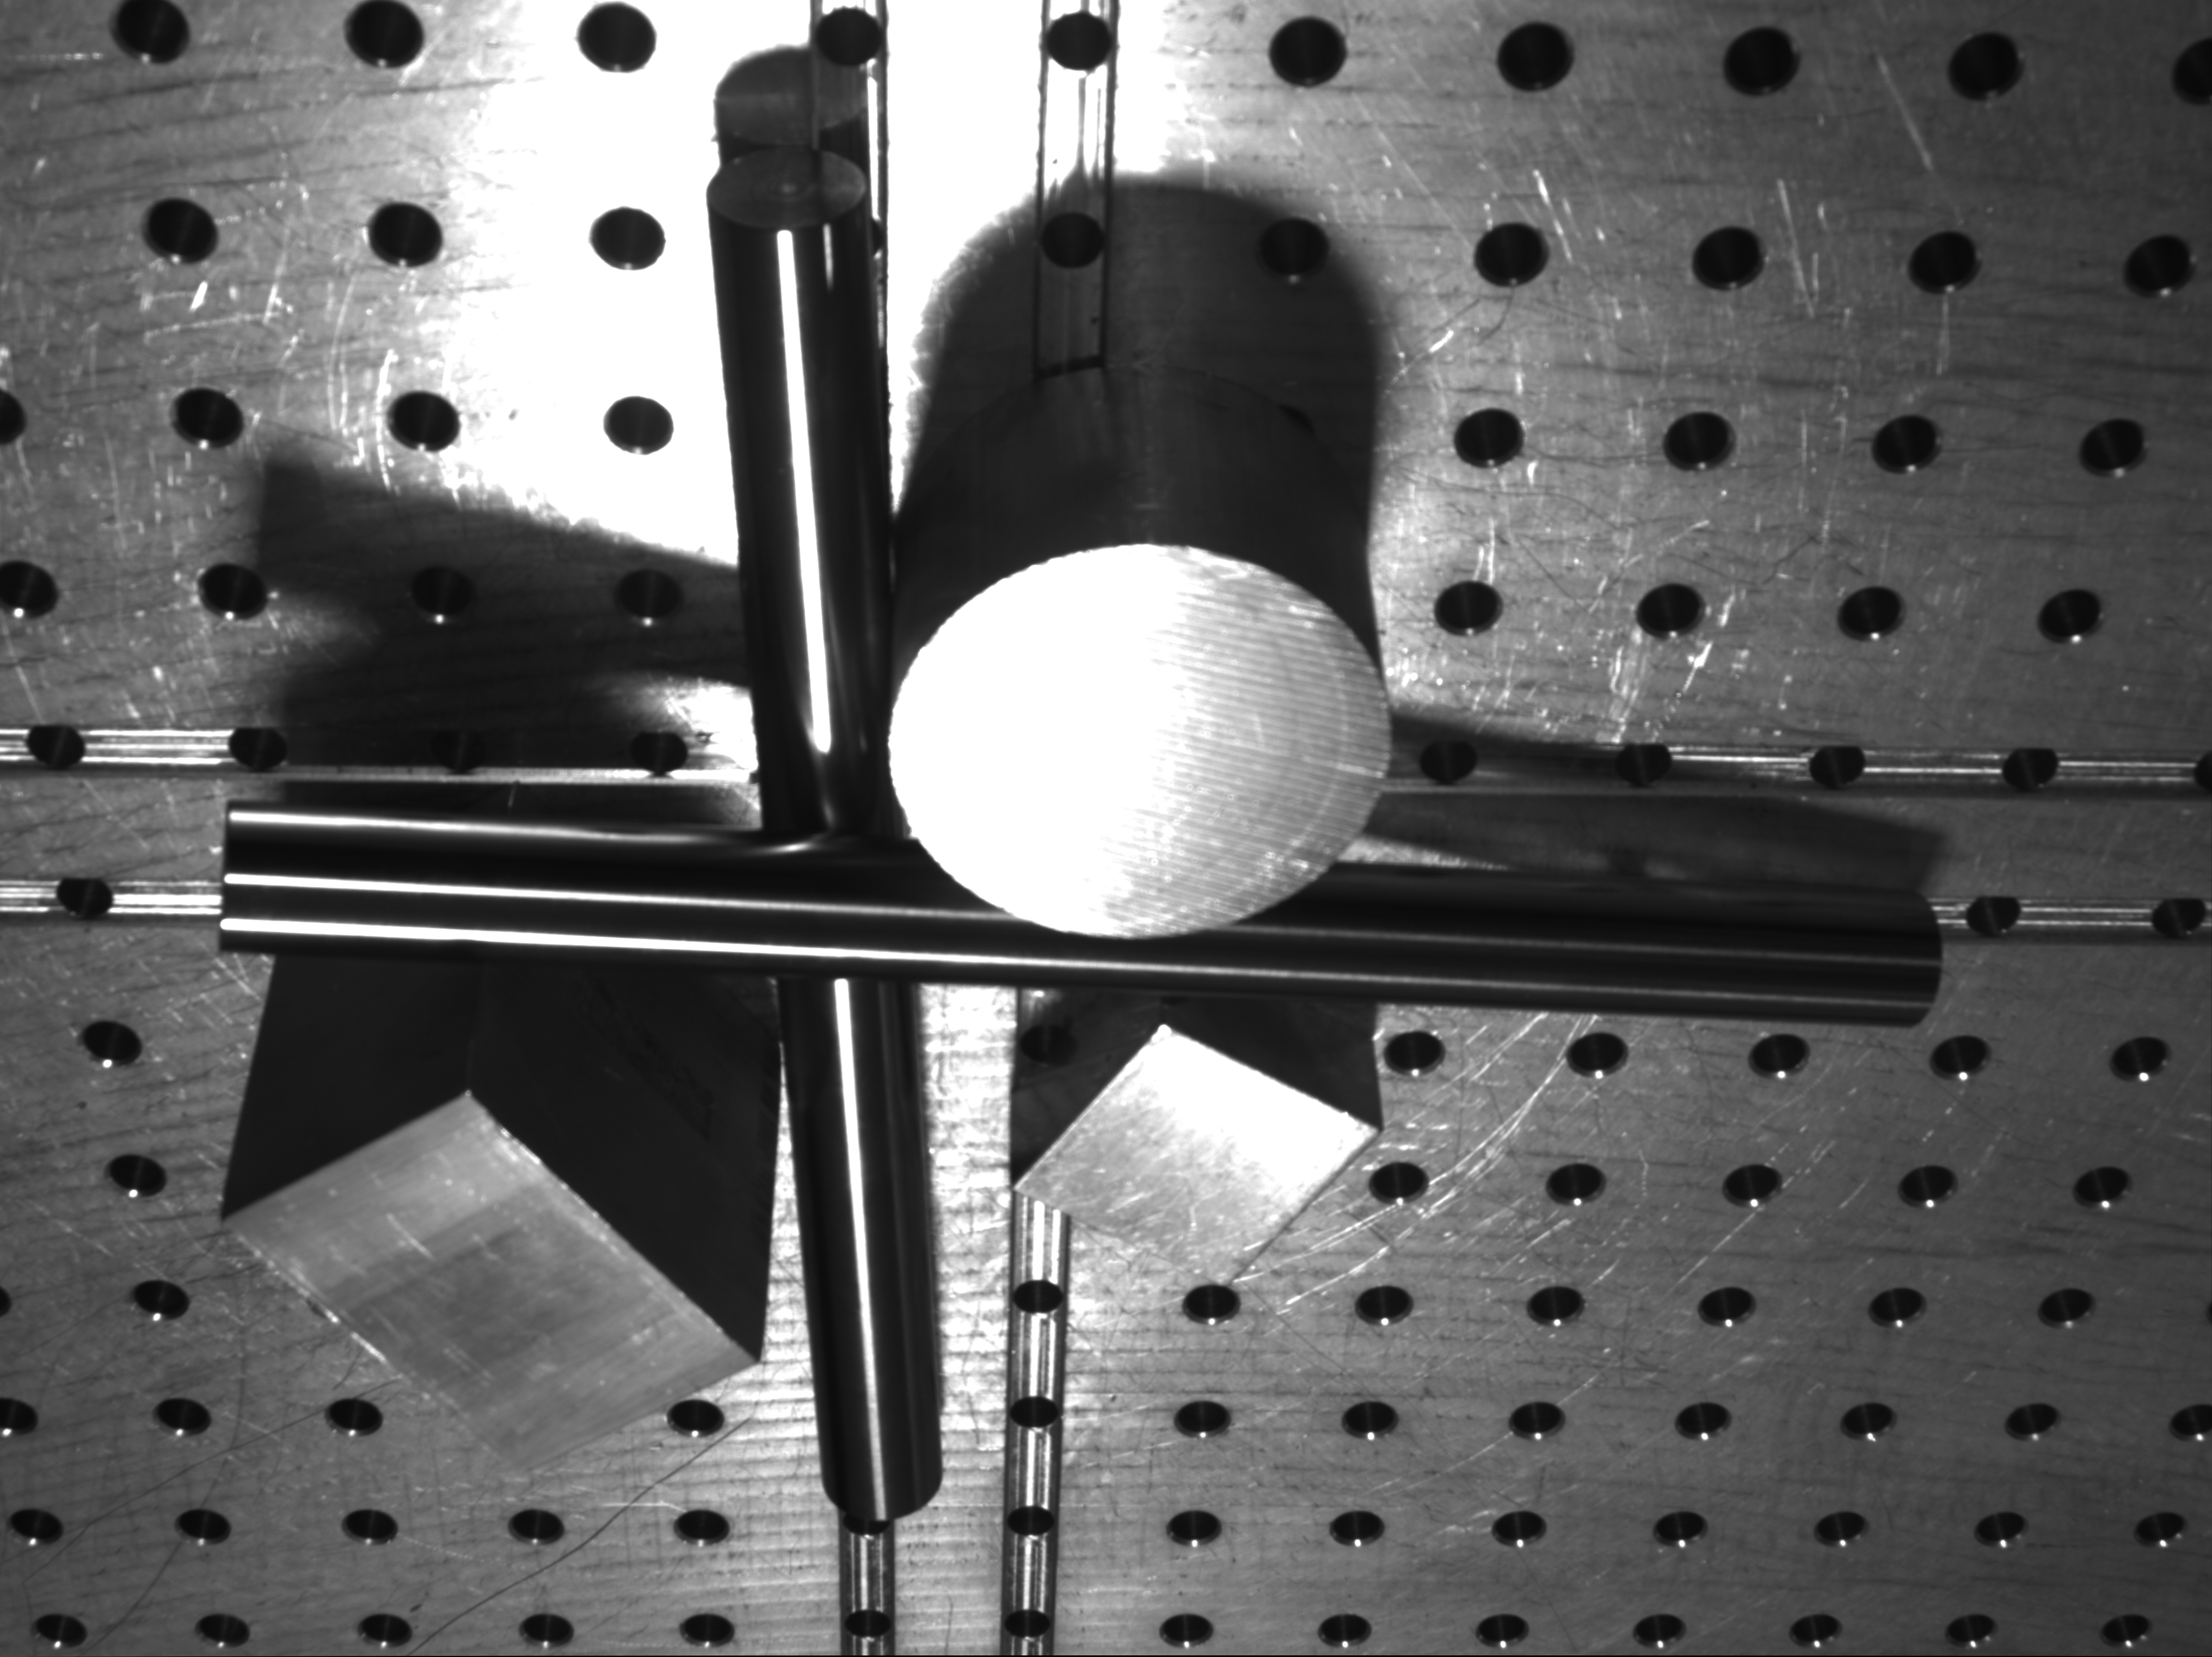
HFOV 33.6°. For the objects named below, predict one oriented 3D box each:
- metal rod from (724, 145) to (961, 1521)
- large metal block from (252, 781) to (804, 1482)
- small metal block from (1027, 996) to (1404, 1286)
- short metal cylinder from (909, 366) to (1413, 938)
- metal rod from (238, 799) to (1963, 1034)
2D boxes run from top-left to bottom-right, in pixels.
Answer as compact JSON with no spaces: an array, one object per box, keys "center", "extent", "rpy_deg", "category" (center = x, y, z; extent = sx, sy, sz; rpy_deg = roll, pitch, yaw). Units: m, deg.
[{"center":[-0.044,0.017,0.654],"extent":[0.025,0.025,0.300],"rpy_deg":[-1,130,-1],"category":"metal rod"},{"center":[-0.098,0.053,0.646],"extent":[0.050,0.080,0.080],"rpy_deg":[-28,125,20],"category":"large metal block"},{"center":[0.020,0.053,0.687],"extent":[0.050,0.025,0.050],"rpy_deg":[27,124,-22],"category":"small metal block"},{"center":[0.008,-0.028,0.601],"extent":[0.080,0.050,0.080],"rpy_deg":[-1,130,-1],"category":"short metal cylinder"},{"center":[0.005,0.016,0.631],"extent":[0.300,0.025,0.025],"rpy_deg":[3,130,-14],"category":"metal rod"}]
